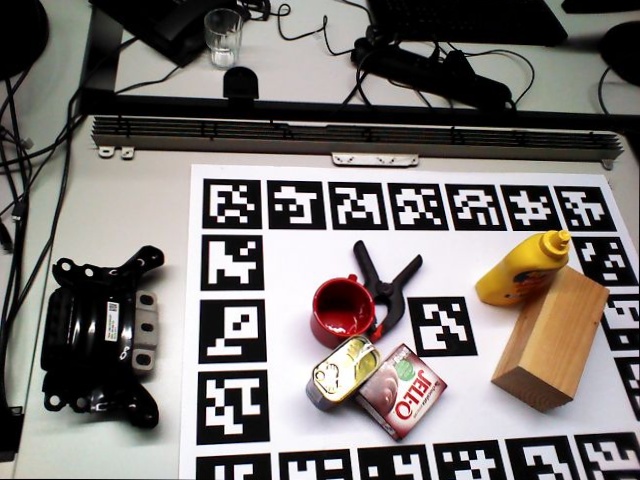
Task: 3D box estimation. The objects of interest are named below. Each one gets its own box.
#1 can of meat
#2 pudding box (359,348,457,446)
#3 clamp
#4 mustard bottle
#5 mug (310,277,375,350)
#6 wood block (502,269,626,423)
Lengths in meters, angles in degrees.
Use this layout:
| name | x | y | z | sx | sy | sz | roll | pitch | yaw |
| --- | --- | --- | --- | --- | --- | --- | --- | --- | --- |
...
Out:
| name | x | y | z | sx | sy | sz | roll | pitch | yaw |
| --- | --- | --- | --- | --- | --- | --- | --- | --- | --- |
| can of meat | 0.032 | 0.191 | 0.719 | 0.101 | 0.084 | 0.058 | -28 | 71 | -21 |
| pudding box | 0.126 | 0.224 | 0.747 | 0.113 | 0.039 | 0.090 | -37 | 74 | -25 |
| clamp | 0.112 | 0.078 | 0.829 | 0.122 | 0.037 | 0.164 | 18 | 63 | 0 |
| mustard bottle | 0.335 | 0.041 | 0.786 | 0.096 | 0.192 | 0.058 | -4 | 63 | -10 |
| mug | 0.033 | 0.109 | 0.795 | 0.093 | 0.082 | 0.116 | 21 | 63 | 3 |
| wood block | 0.374 | 0.159 | 0.793 | 0.090 | 0.091 | 0.205 | 33 | 60 | 11 |
